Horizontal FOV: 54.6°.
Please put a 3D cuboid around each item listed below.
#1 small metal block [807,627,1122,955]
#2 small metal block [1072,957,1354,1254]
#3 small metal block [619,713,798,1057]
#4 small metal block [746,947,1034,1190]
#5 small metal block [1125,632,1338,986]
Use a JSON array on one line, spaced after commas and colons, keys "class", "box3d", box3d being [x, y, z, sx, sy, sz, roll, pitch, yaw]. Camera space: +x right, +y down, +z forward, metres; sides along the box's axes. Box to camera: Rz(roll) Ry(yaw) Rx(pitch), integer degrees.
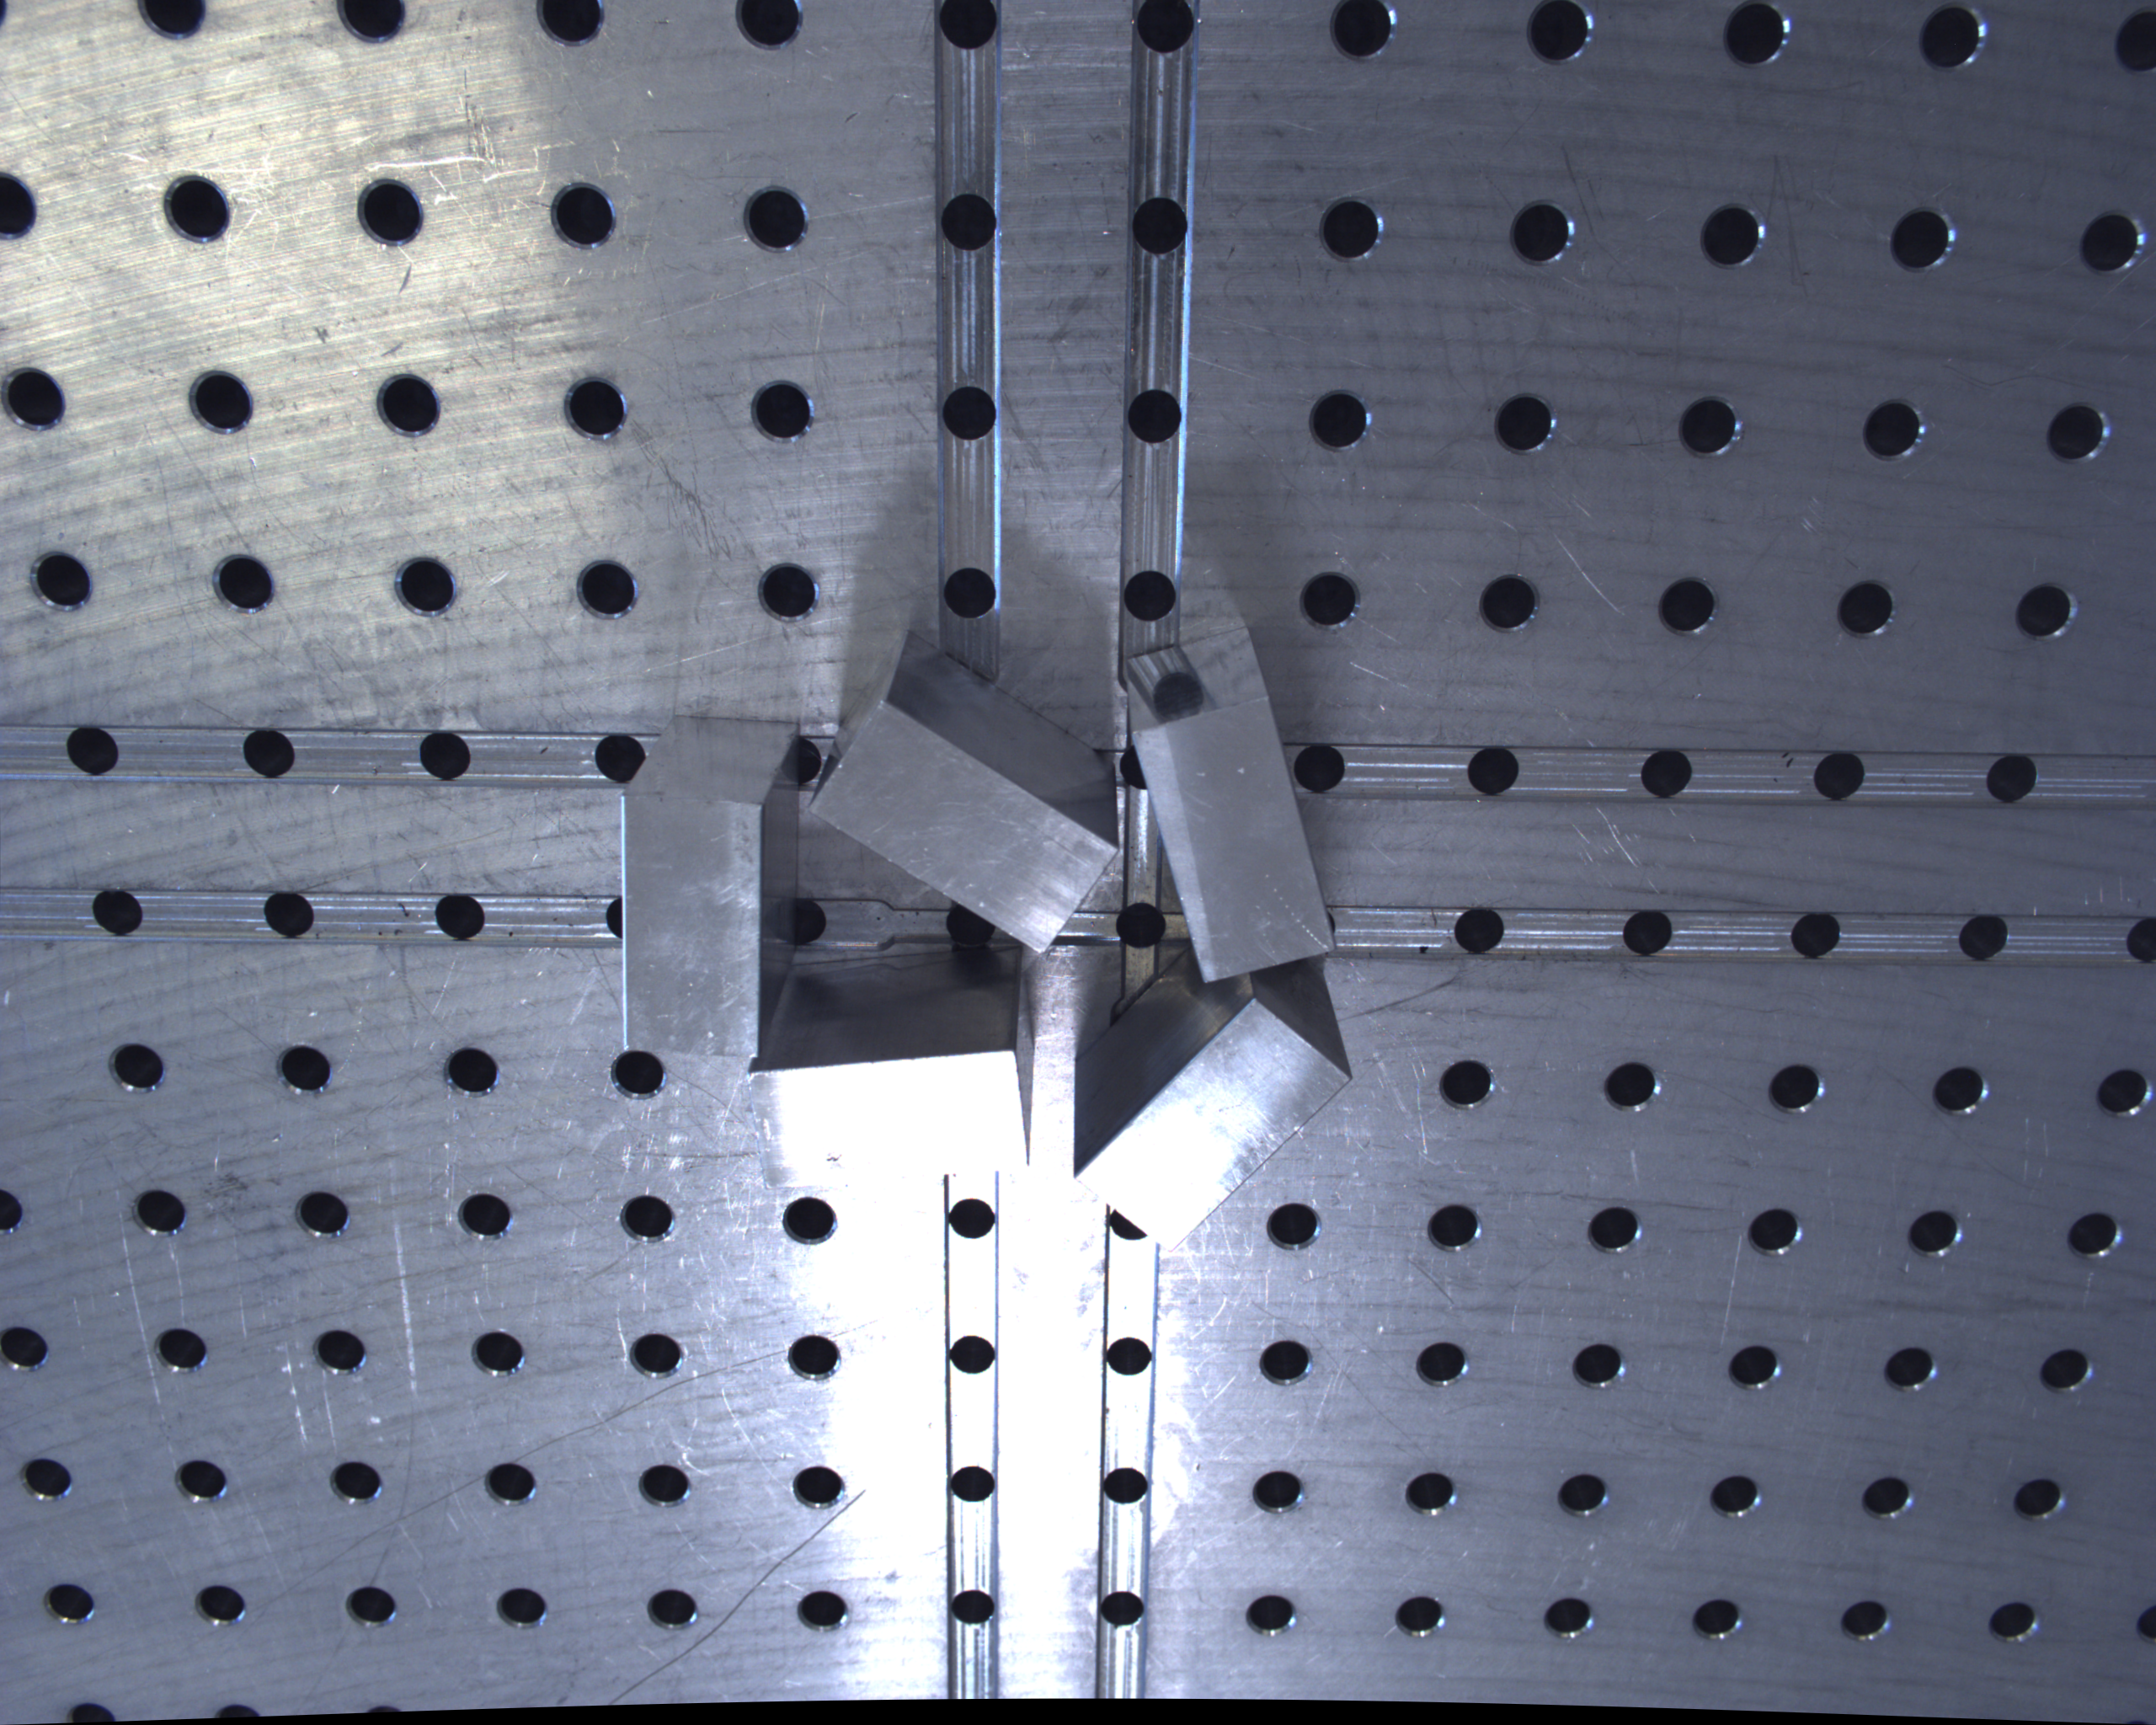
[{"class": "small metal block", "box3d": [-0.020, -0.015, 0.394, 0.050, 0.050, 0.025, 32, 108, -12]}, {"class": "small metal block", "box3d": [0.025, 0.041, 0.415, 0.025, 0.050, 0.050, 41, 105, -13]}, {"class": "small metal block", "box3d": [-0.070, 0.003, 0.401, 0.025, 0.050, 0.050, 3, 111, -1]}, {"class": "small metal block", "box3d": [-0.035, 0.040, 0.414, 0.050, 0.050, 0.025, -5, 110, 1]}, {"class": "small metal block", "box3d": [0.028, -0.012, 0.395, 0.025, 0.050, 0.050, -15, 109, 5]}]
